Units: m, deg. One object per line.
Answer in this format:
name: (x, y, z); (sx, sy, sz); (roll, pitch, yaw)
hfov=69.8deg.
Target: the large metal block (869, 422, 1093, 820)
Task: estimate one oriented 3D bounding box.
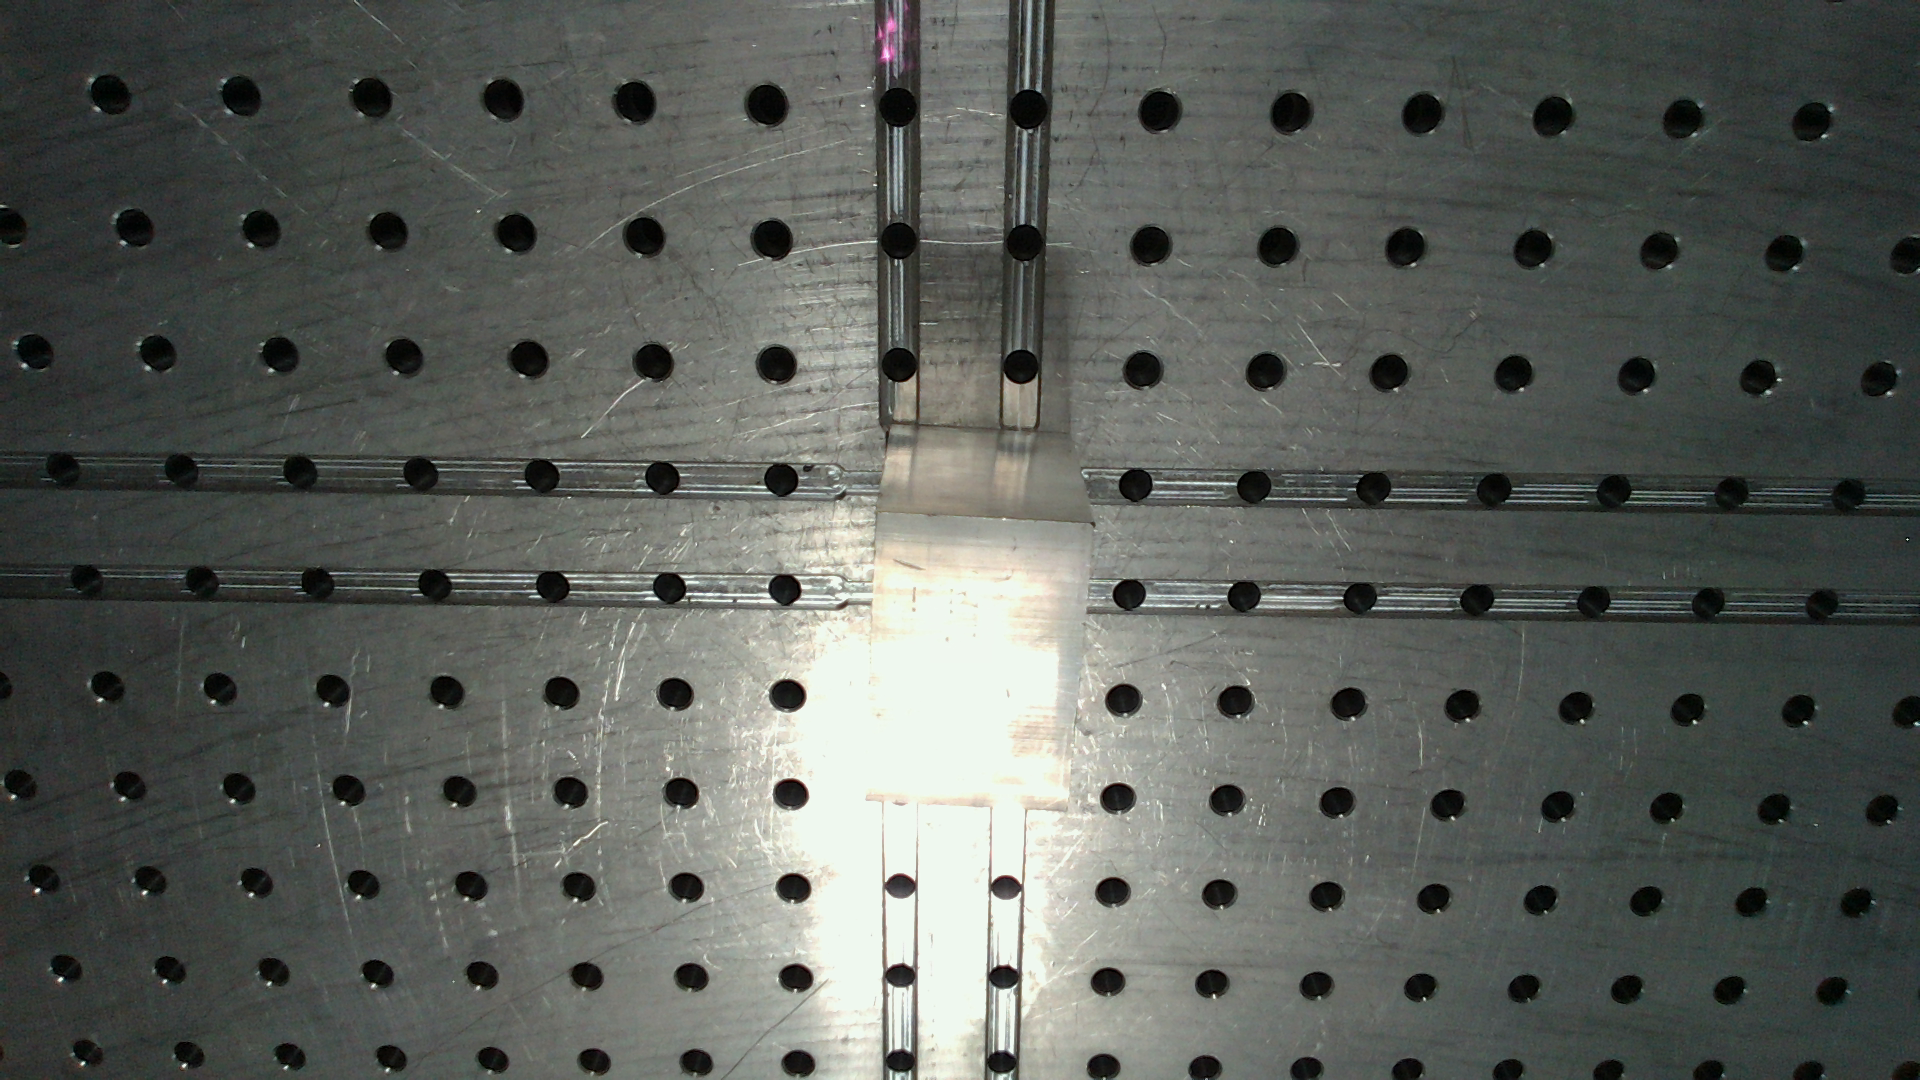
large metal block: (0.004, 0.019, 0.373); (0.050, 0.080, 0.080); (3, 110, -1)
